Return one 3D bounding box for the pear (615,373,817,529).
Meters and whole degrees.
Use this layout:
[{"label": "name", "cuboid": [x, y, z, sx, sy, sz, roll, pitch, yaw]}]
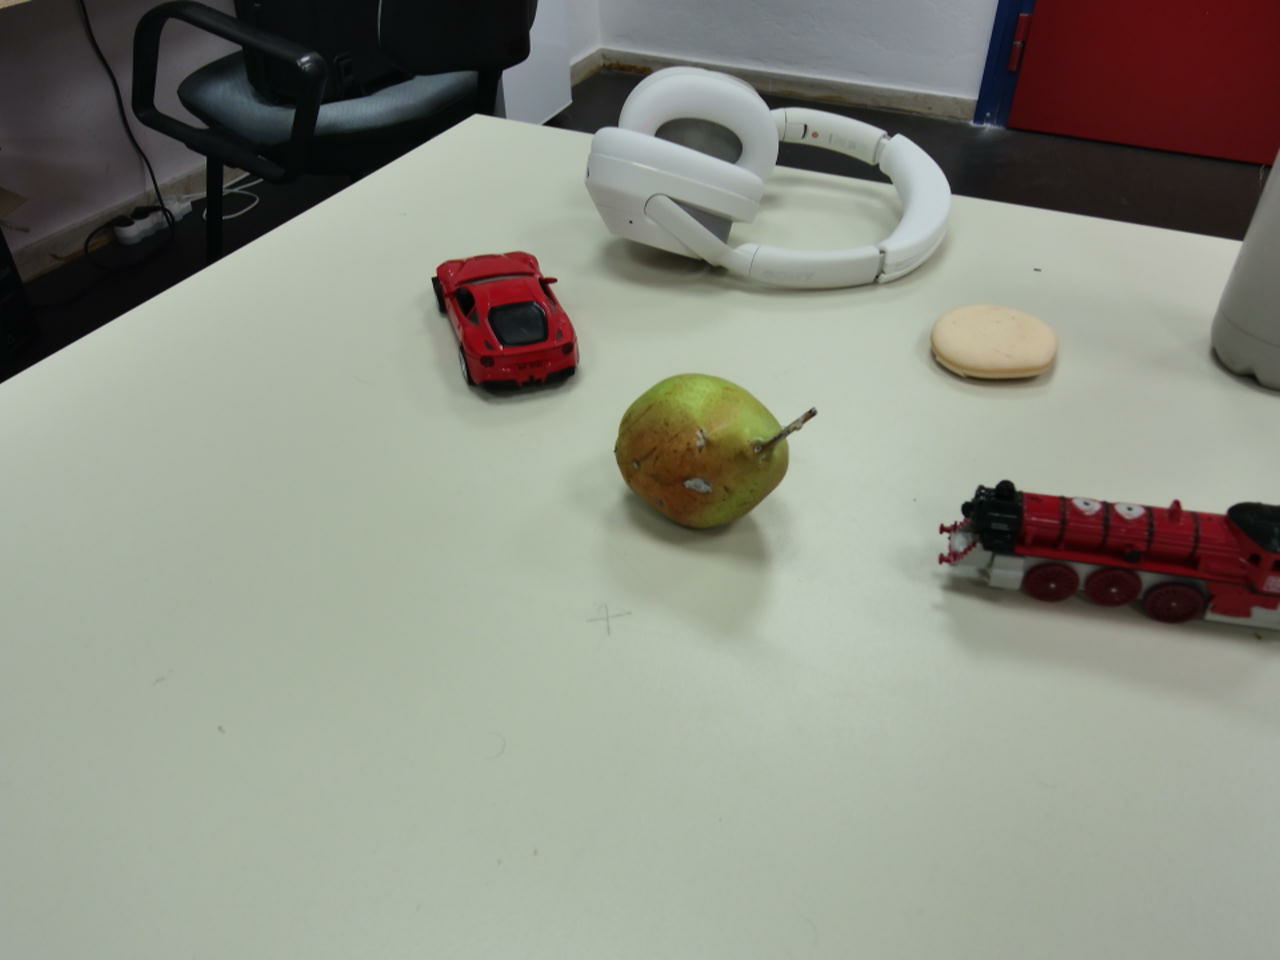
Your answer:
[{"label": "pear", "cuboid": [0.025, -0.014, 0.410, 0.068, 0.069, 0.070, -7, 38, -9]}]
